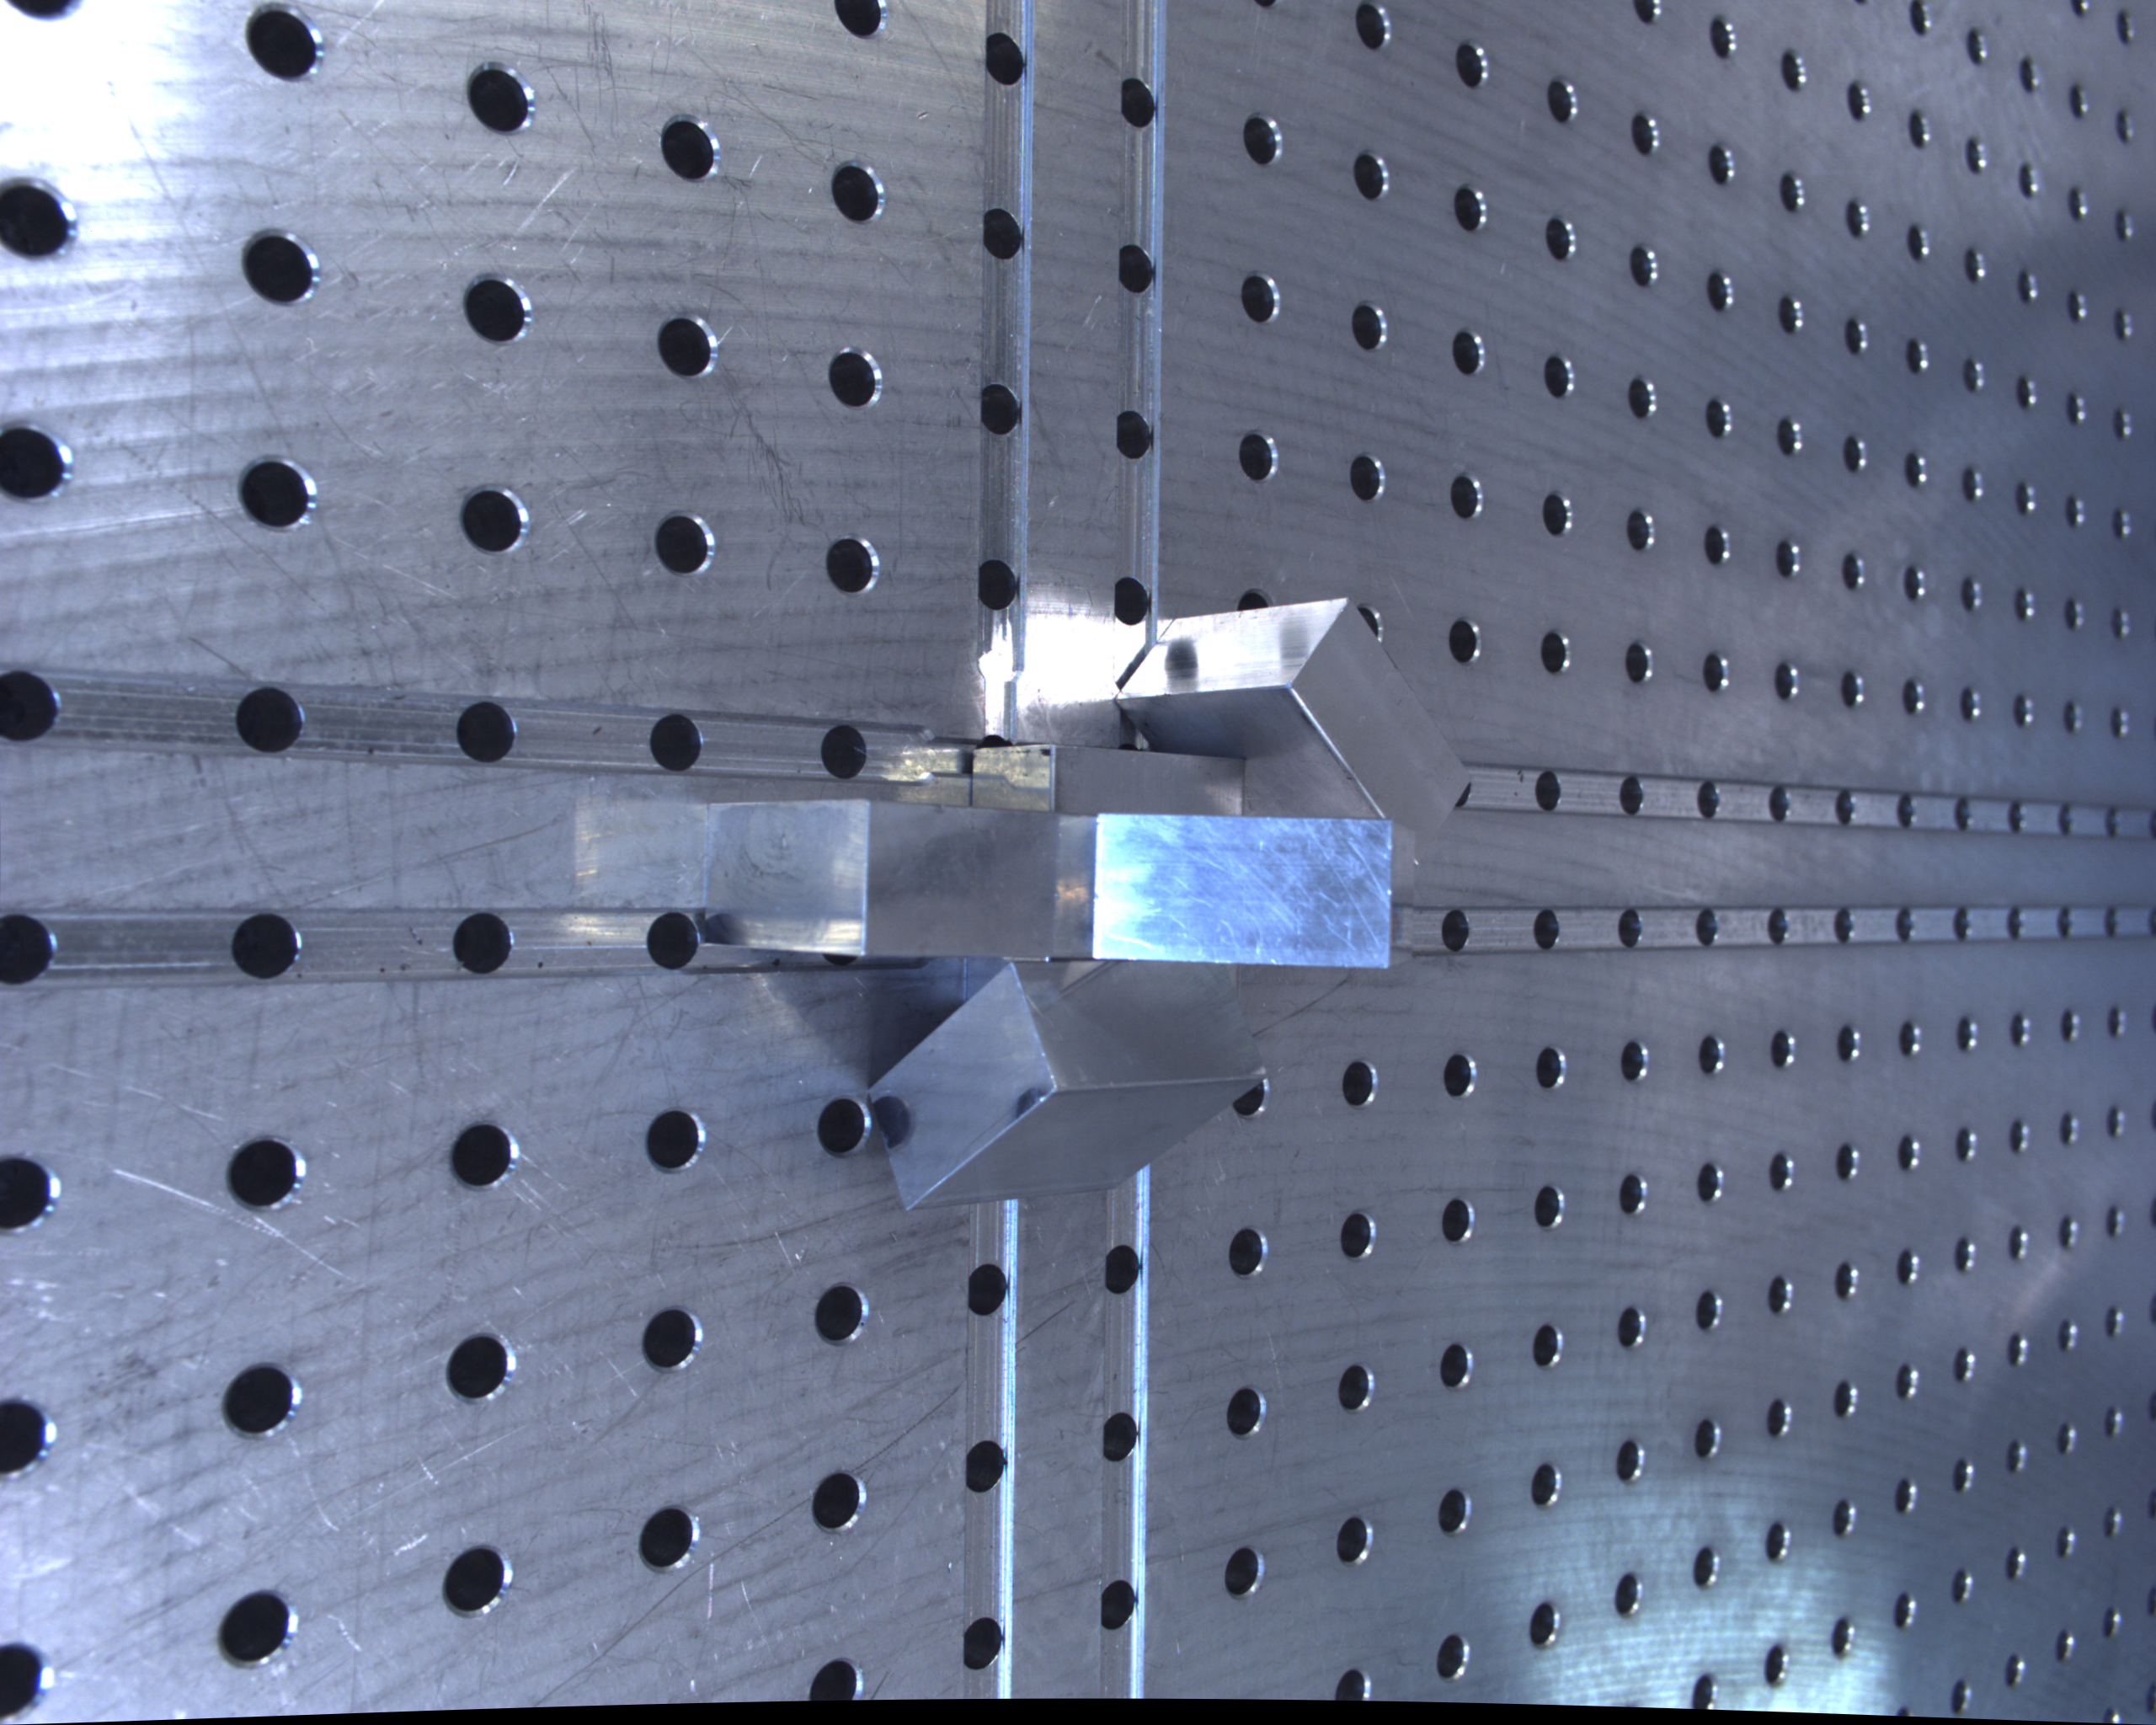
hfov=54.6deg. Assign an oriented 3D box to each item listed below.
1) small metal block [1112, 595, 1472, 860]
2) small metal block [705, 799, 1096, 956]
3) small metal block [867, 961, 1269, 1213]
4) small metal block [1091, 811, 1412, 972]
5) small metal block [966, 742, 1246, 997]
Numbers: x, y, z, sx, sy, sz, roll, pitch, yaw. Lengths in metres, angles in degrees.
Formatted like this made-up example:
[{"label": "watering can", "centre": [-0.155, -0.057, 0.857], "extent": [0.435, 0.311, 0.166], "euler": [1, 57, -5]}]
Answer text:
[{"label": "small metal block", "centre": [0.044, -0.026, 0.428], "extent": [0.050, 0.050, 0.025], "euler": [51, 60, -28]}, {"label": "small metal block", "centre": [-0.030, 0.003, 0.366], "extent": [0.050, 0.050, 0.025], "euler": [2, 89, -39]}, {"label": "small metal block", "centre": [-0.002, 0.041, 0.387], "extent": [0.050, 0.050, 0.025], "euler": [2, 58, -40]}, {"label": "small metal block", "centre": [0.033, 0.005, 0.374], "extent": [0.050, 0.050, 0.025], "euler": [7, 85, -77]}, {"label": "small metal block", "centre": [0.006, 0.003, 0.413], "extent": [0.050, 0.025, 0.050], "euler": [2, 89, -41]}]
